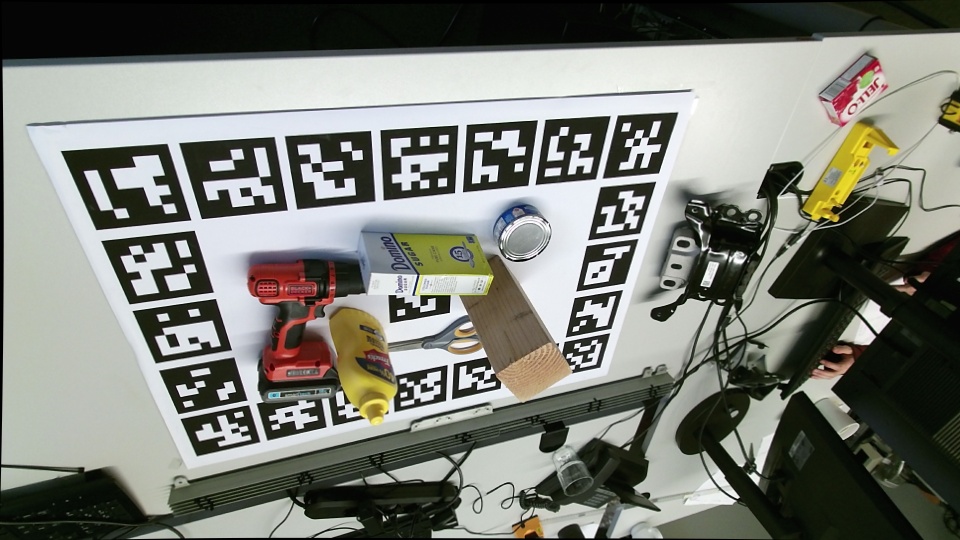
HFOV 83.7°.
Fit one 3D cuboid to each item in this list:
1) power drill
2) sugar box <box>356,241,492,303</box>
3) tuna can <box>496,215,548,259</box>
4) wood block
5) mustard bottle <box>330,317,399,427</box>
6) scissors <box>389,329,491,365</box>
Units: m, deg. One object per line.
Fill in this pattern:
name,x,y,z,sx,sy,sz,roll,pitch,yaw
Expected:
power drill,-0.226,0.087,0.785,0.185,0.057,0.187,3,115,-25
sugar box,-0.081,0.003,0.765,0.177,0.092,0.045,3,125,-22
tuna can,0.069,-0.041,0.827,0.086,0.033,0.086,-11,126,-15
wood block,0.048,0.094,0.821,0.091,0.205,0.090,-32,129,1
mustard bottle,-0.164,0.154,0.783,0.058,0.191,0.096,-42,128,7
scissors,-0.061,0.141,0.919,0.203,0.016,0.088,-7,130,-18
